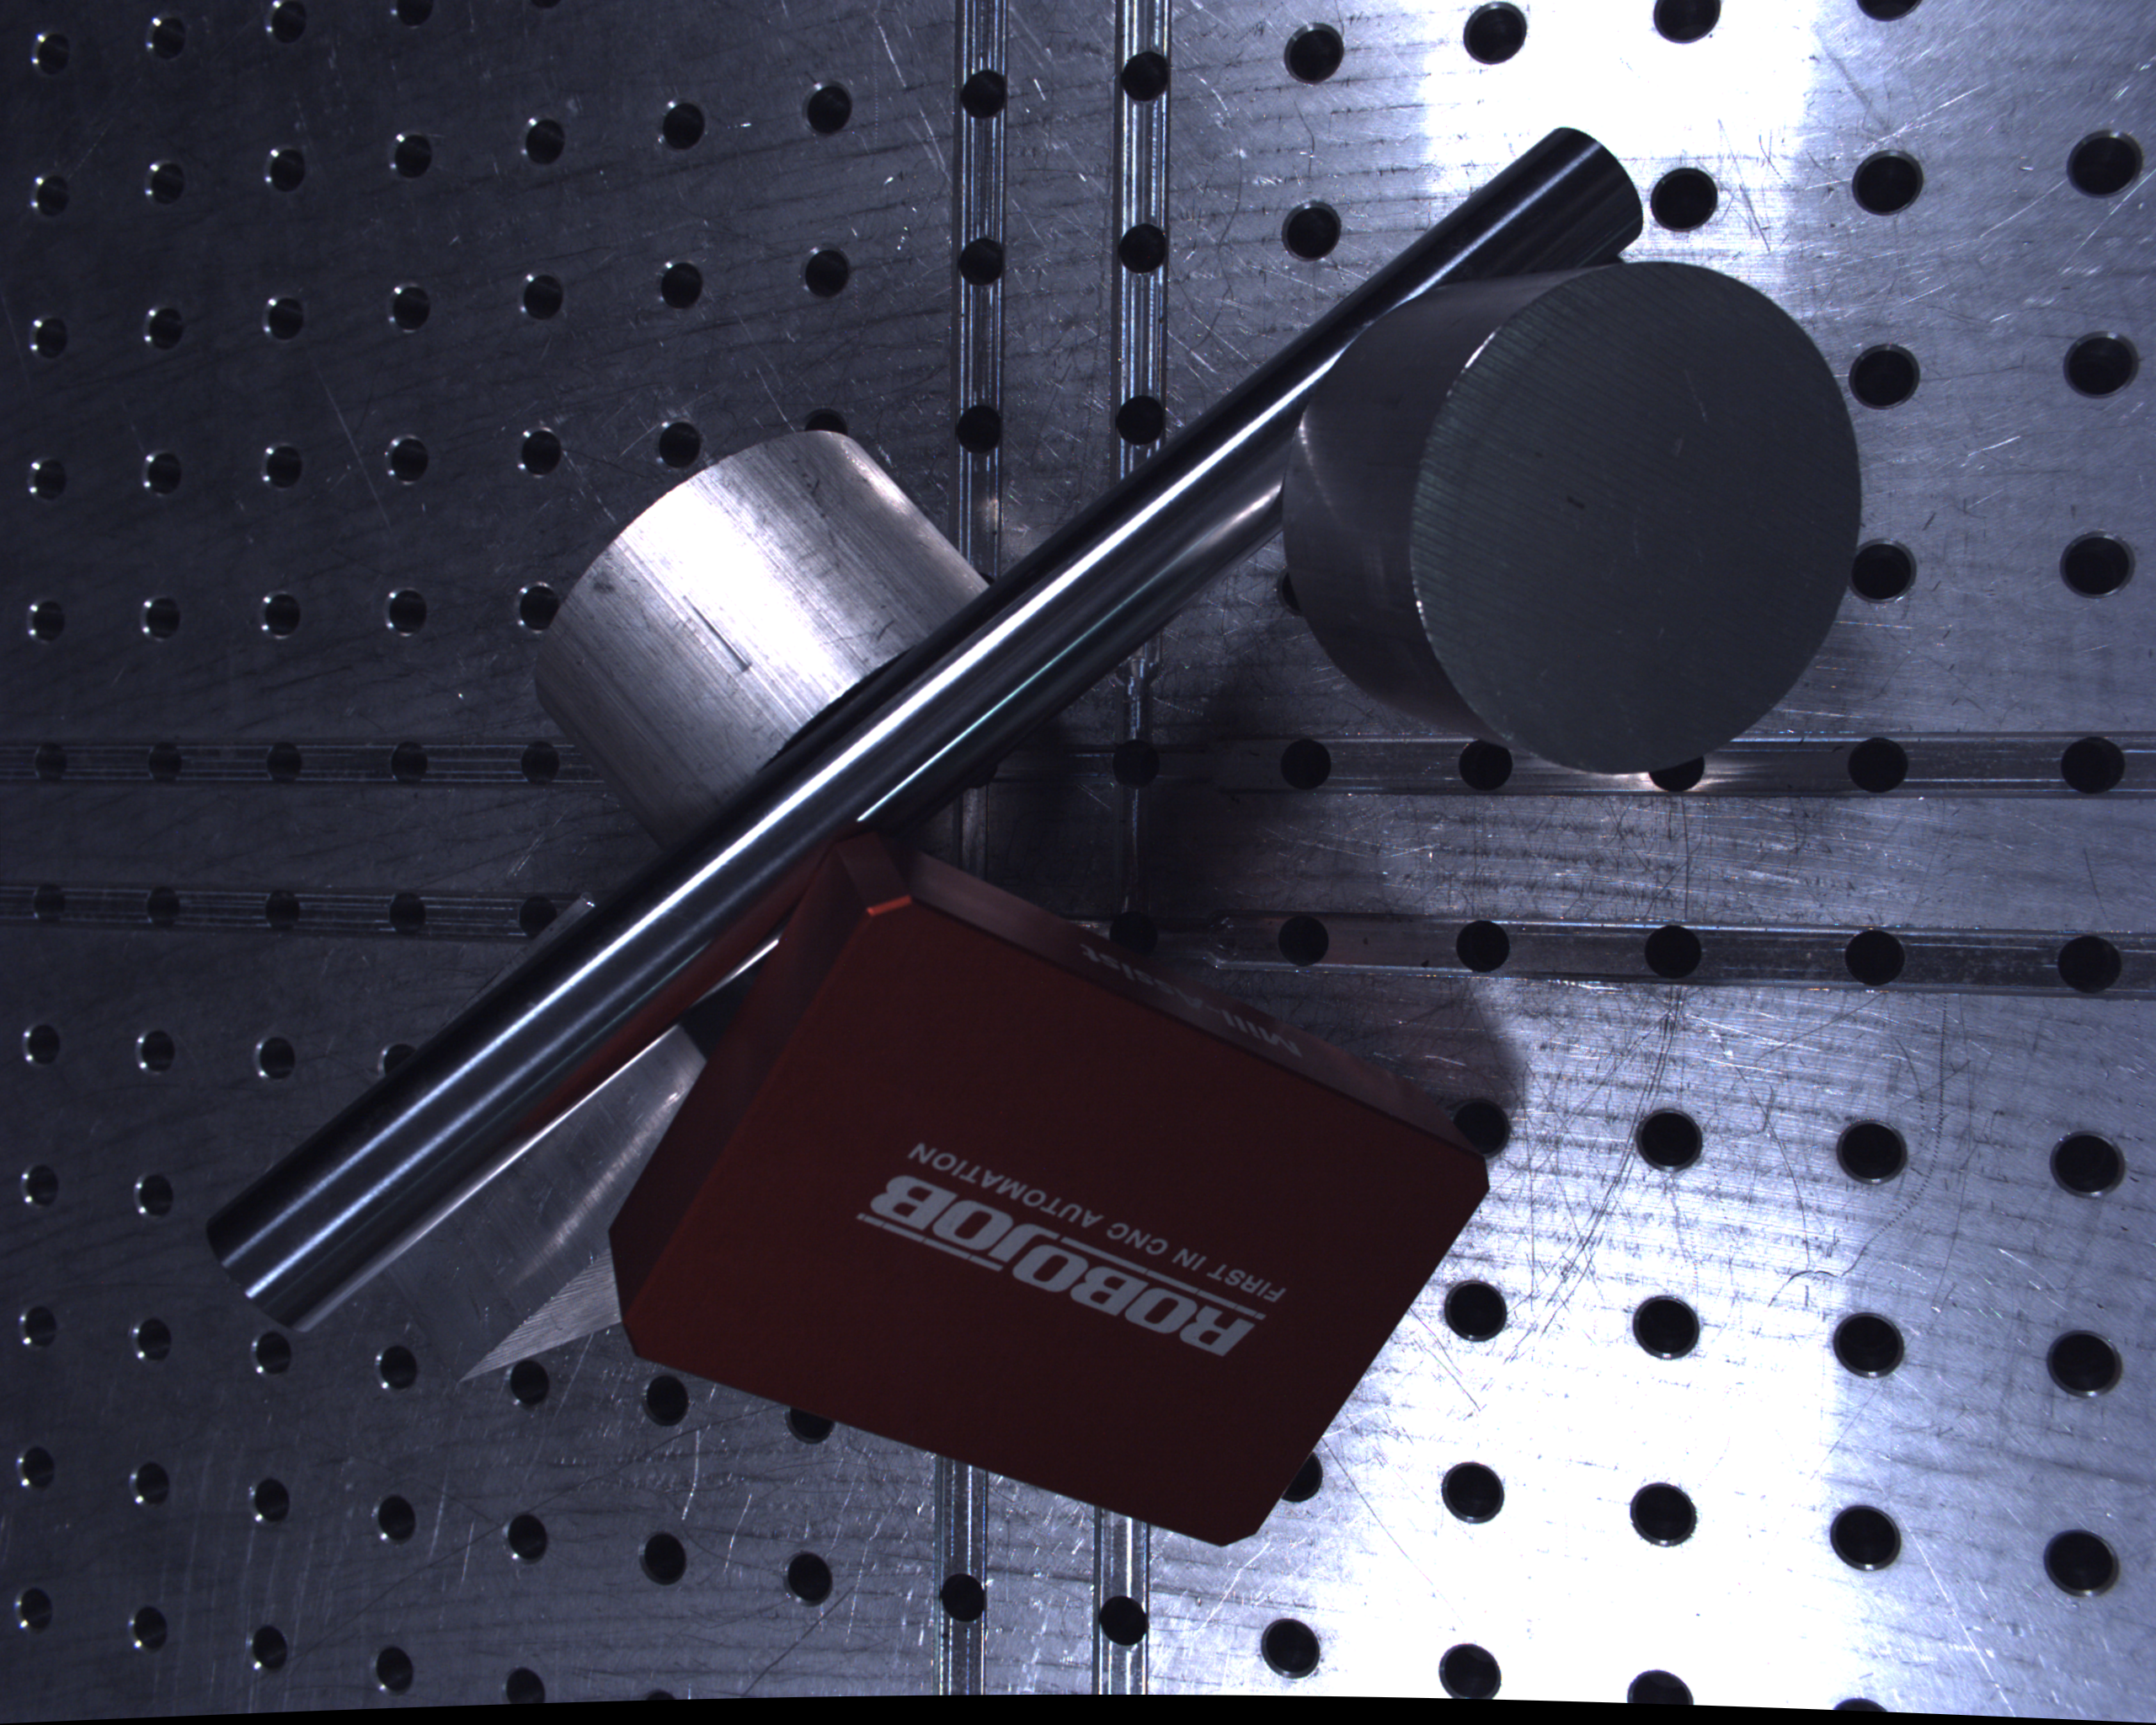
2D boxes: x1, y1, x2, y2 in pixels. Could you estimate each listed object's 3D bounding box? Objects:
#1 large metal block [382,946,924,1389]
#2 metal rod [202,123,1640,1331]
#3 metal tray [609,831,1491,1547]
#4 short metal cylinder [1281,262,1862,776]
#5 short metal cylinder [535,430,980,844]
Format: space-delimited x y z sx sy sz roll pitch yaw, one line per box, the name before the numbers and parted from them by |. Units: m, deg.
large metal block | -0.085 0.051 0.412 0.080 0.080 0.050 -41 77 15
metal rod | -0.021 -0.028 0.362 0.301 0.025 0.025 -40 77 -7
metal tray | -0.003 0.061 0.368 0.131 0.030 0.090 26 101 -25
short metal cylinder | 0.081 -0.058 0.349 0.081 0.050 0.079 -4 104 -17
short metal cylinder | -0.055 -0.036 0.402 0.080 0.080 0.050 -45 76 14
